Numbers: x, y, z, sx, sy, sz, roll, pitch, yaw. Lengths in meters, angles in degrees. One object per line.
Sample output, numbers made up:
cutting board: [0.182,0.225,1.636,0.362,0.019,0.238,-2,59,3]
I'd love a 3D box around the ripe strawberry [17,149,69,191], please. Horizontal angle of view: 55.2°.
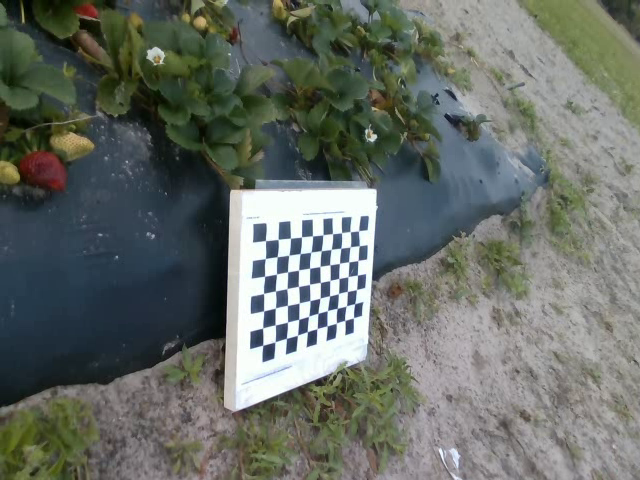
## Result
ripe strawberry: [-0.262,-0.062,0.588,0.059,0.045,0.047,33,30,31]
